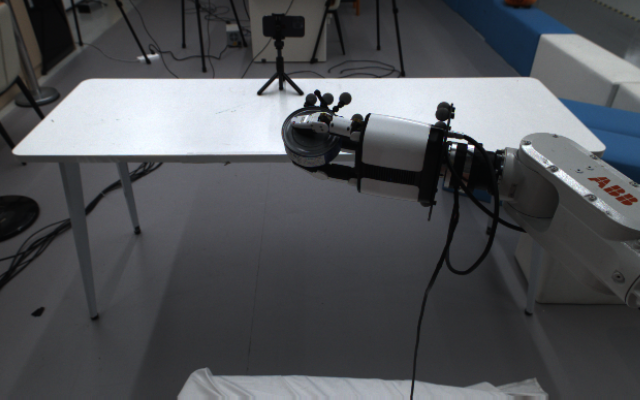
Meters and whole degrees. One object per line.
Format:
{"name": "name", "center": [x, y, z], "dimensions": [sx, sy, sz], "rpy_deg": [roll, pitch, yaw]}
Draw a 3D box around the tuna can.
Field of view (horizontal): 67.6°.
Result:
{"name": "tuna can", "center": [-0.011, -0.091, 0.692], "dimensions": [0.085, 0.034, 0.085], "rpy_deg": [-2, 60, 3]}
